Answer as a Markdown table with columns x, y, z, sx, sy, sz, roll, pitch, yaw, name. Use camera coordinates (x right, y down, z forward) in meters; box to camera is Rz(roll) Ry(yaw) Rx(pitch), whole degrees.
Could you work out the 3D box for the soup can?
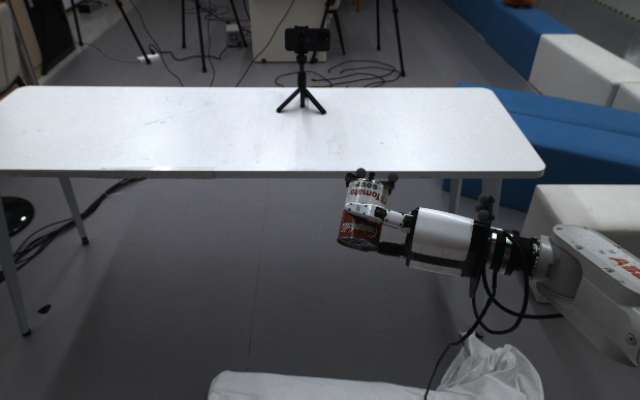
| x | y | z | sx | sy | sz | roll | pitch | yaw | name |
| --- | --- | --- | --- | --- | --- | --- | --- | --- | --- |
| 0.071 | 0.023 | 0.779 | 0.067 | 0.067 | 0.101 | 9 | 72 | 10 | soup can |
